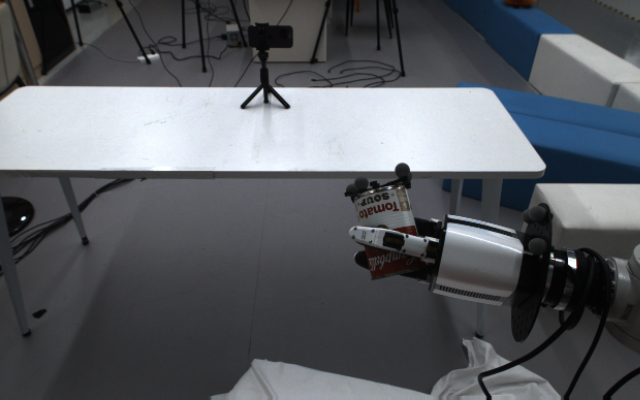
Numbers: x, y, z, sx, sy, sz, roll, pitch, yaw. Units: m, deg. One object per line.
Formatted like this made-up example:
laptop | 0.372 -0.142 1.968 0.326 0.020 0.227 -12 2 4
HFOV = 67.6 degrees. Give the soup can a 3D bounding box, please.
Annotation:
soup can | 0.087 0.038 0.585 0.067 0.067 0.101 -11 80 -19
